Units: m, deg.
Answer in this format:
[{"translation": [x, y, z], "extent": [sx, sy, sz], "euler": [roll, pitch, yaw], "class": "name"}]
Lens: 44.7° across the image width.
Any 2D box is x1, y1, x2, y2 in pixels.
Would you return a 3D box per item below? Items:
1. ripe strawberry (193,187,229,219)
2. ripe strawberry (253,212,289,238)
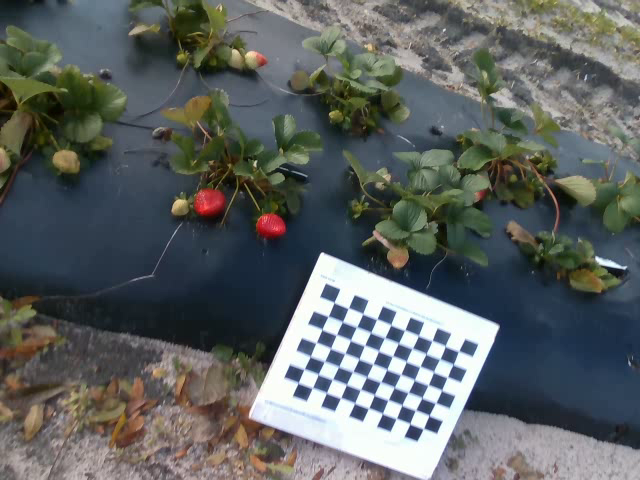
[{"translation": [-0.112, -0.049, 0.799], "extent": [0.035, 0.041, 0.036], "euler": [7, 21, -5], "class": "ripe strawberry"}, {"translation": [-0.048, -0.024, 0.812], "extent": [0.033, 0.038, 0.039], "euler": [34, 3, -26], "class": "ripe strawberry"}]
